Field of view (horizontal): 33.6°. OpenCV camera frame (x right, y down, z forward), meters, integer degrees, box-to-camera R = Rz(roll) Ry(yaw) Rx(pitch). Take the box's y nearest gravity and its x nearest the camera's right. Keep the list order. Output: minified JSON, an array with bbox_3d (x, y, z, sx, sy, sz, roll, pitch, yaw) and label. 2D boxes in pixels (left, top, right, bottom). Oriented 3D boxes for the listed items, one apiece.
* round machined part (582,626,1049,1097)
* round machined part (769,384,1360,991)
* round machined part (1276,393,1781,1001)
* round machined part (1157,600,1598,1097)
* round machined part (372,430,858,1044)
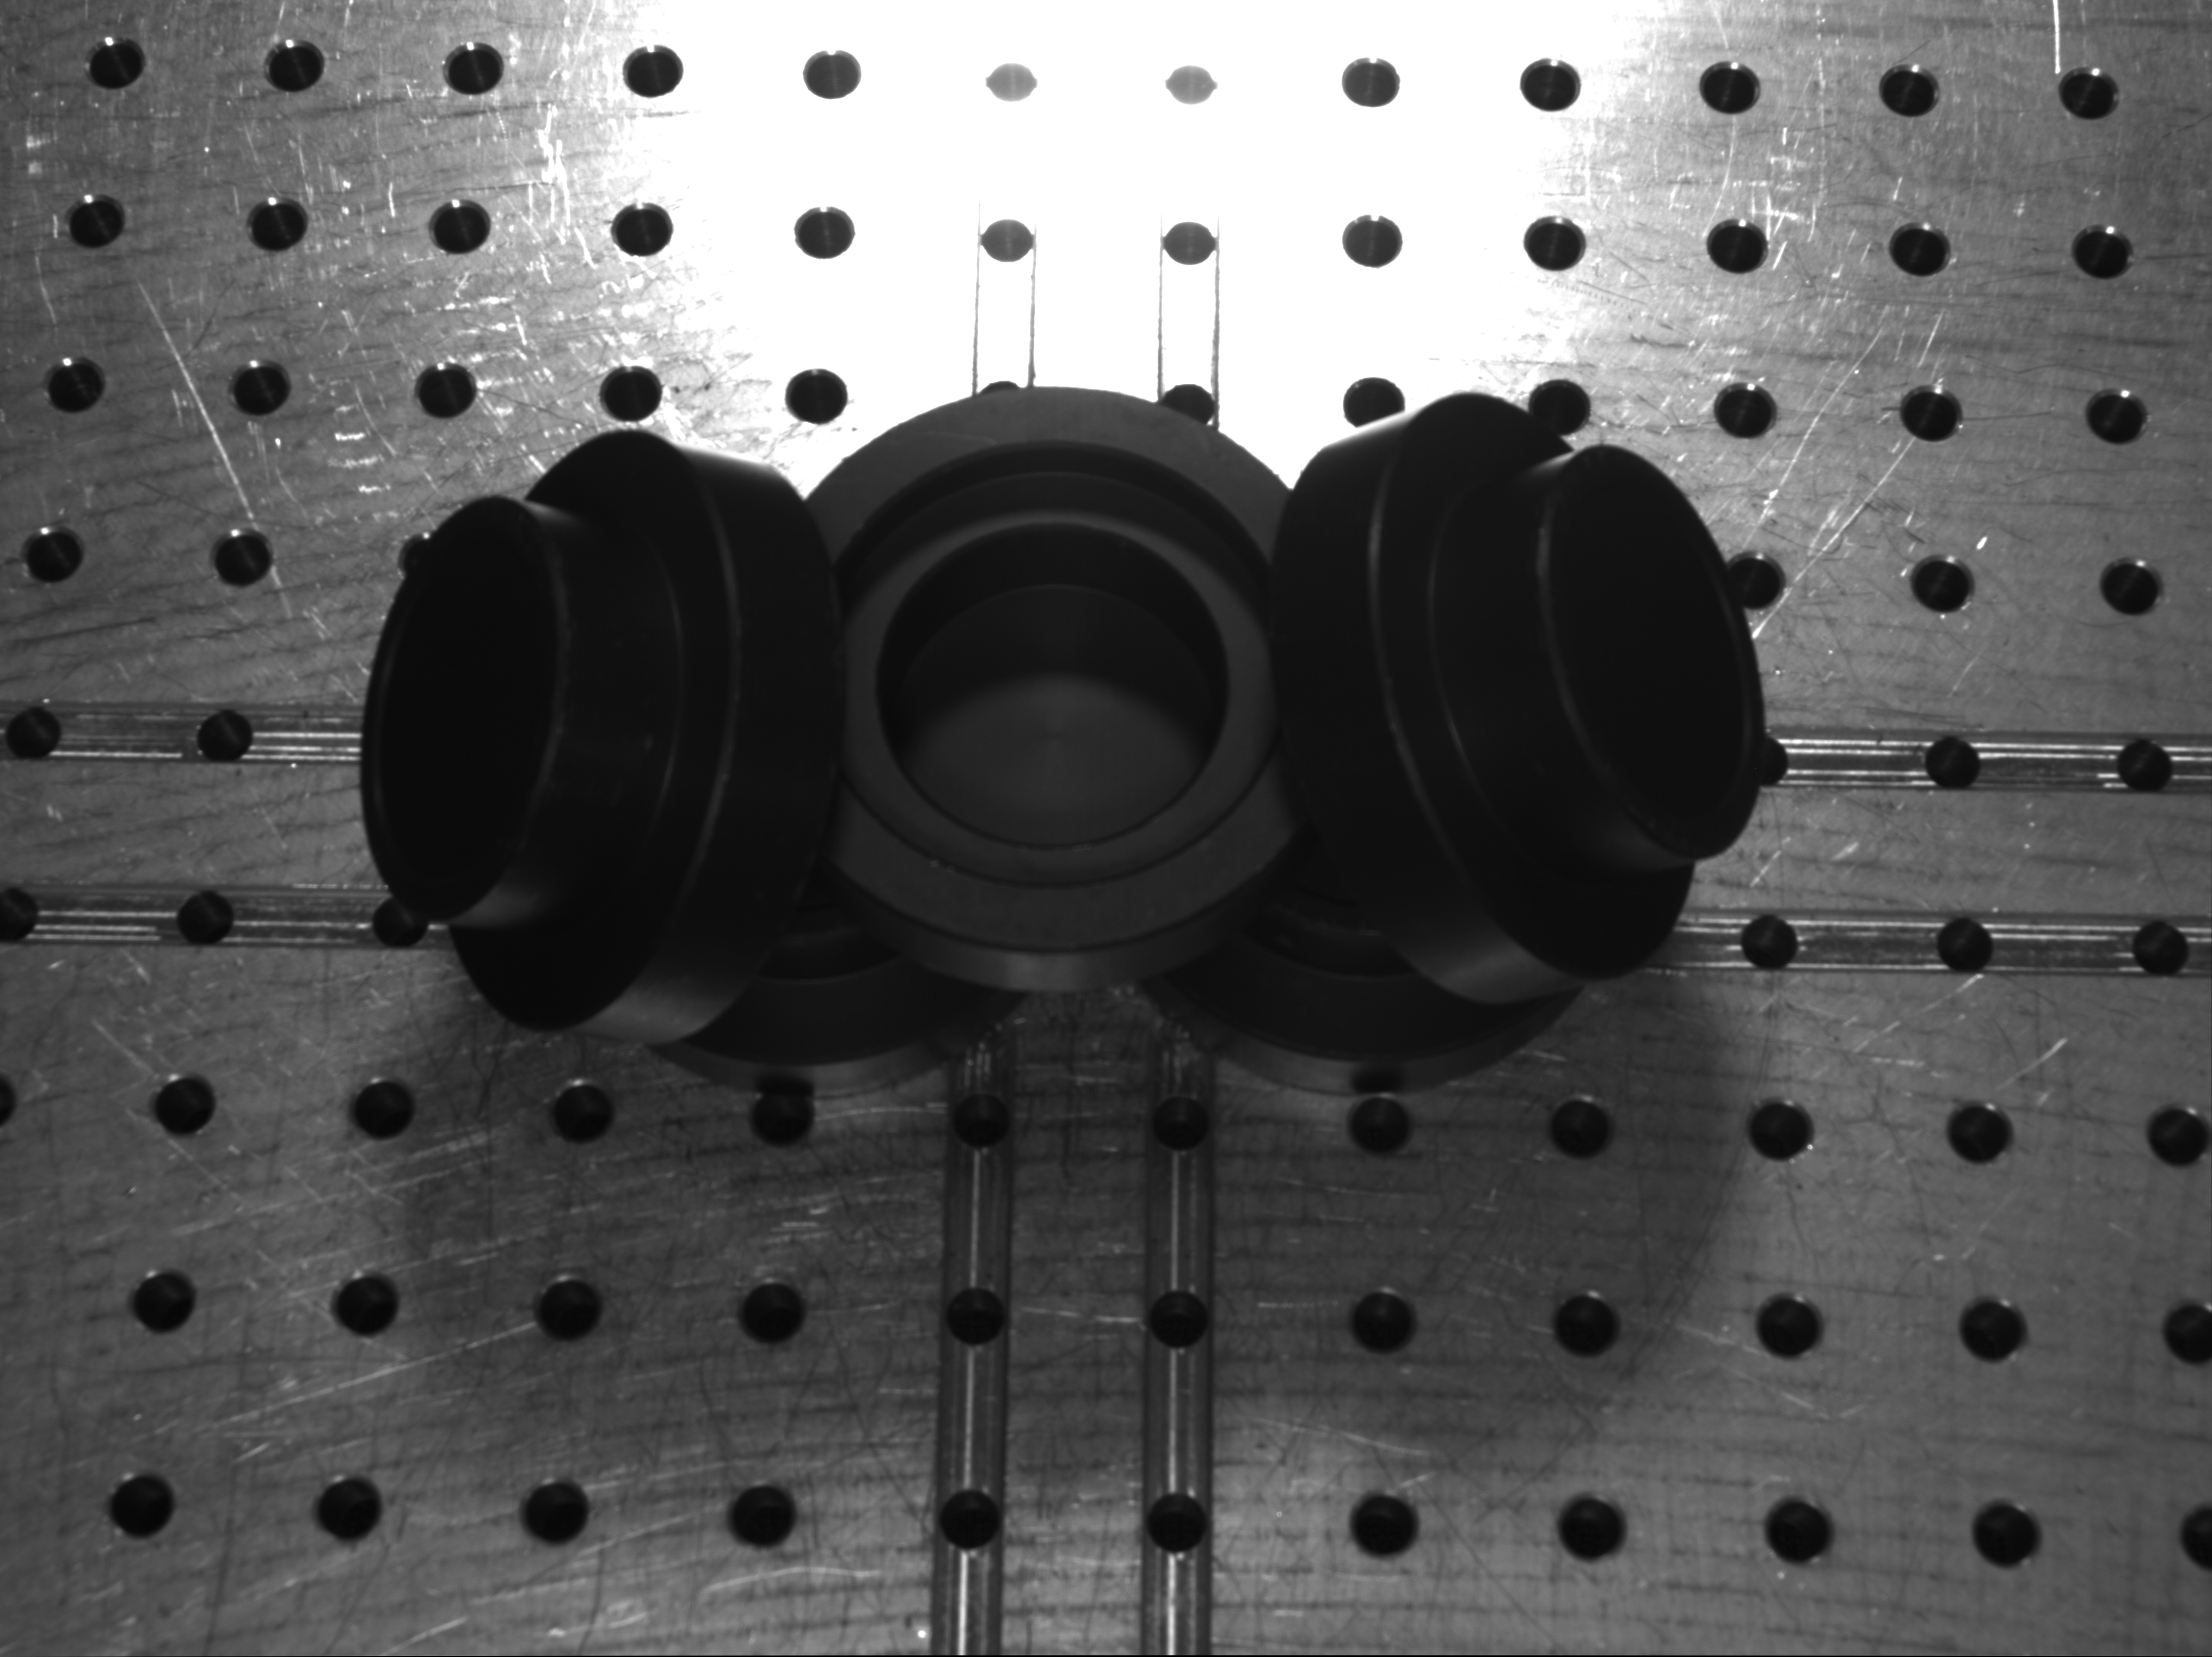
[{"bbox_3d":[-0.050,-0.006,0.640,0.098,0.042,0.098,0,70,0],"label":"round machined part"},{"bbox_3d":[-0.006,-0.020,0.600,0.098,0.042,0.098,0,70,0],"label":"round machined part"},{"bbox_3d":[0.074,-0.024,0.593,0.042,0.098,0.098,-16,64,38],"label":"round machined part"},{"bbox_3d":[0.048,-0.006,0.640,0.098,0.042,0.098,0,70,0],"label":"round machined part"},{"bbox_3d":[-0.084,-0.016,0.590,0.042,0.098,0.098,10,65,-36],"label":"round machined part"}]
